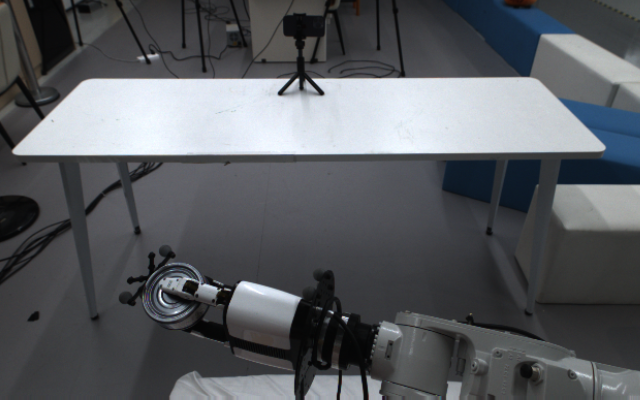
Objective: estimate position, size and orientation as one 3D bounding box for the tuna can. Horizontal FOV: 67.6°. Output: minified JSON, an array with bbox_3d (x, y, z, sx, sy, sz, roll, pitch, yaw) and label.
[{"bbox_3d":[-0.187,0.132,0.643,0.085,0.034,0.085,-1,62,2],"label":"tuna can"}]
